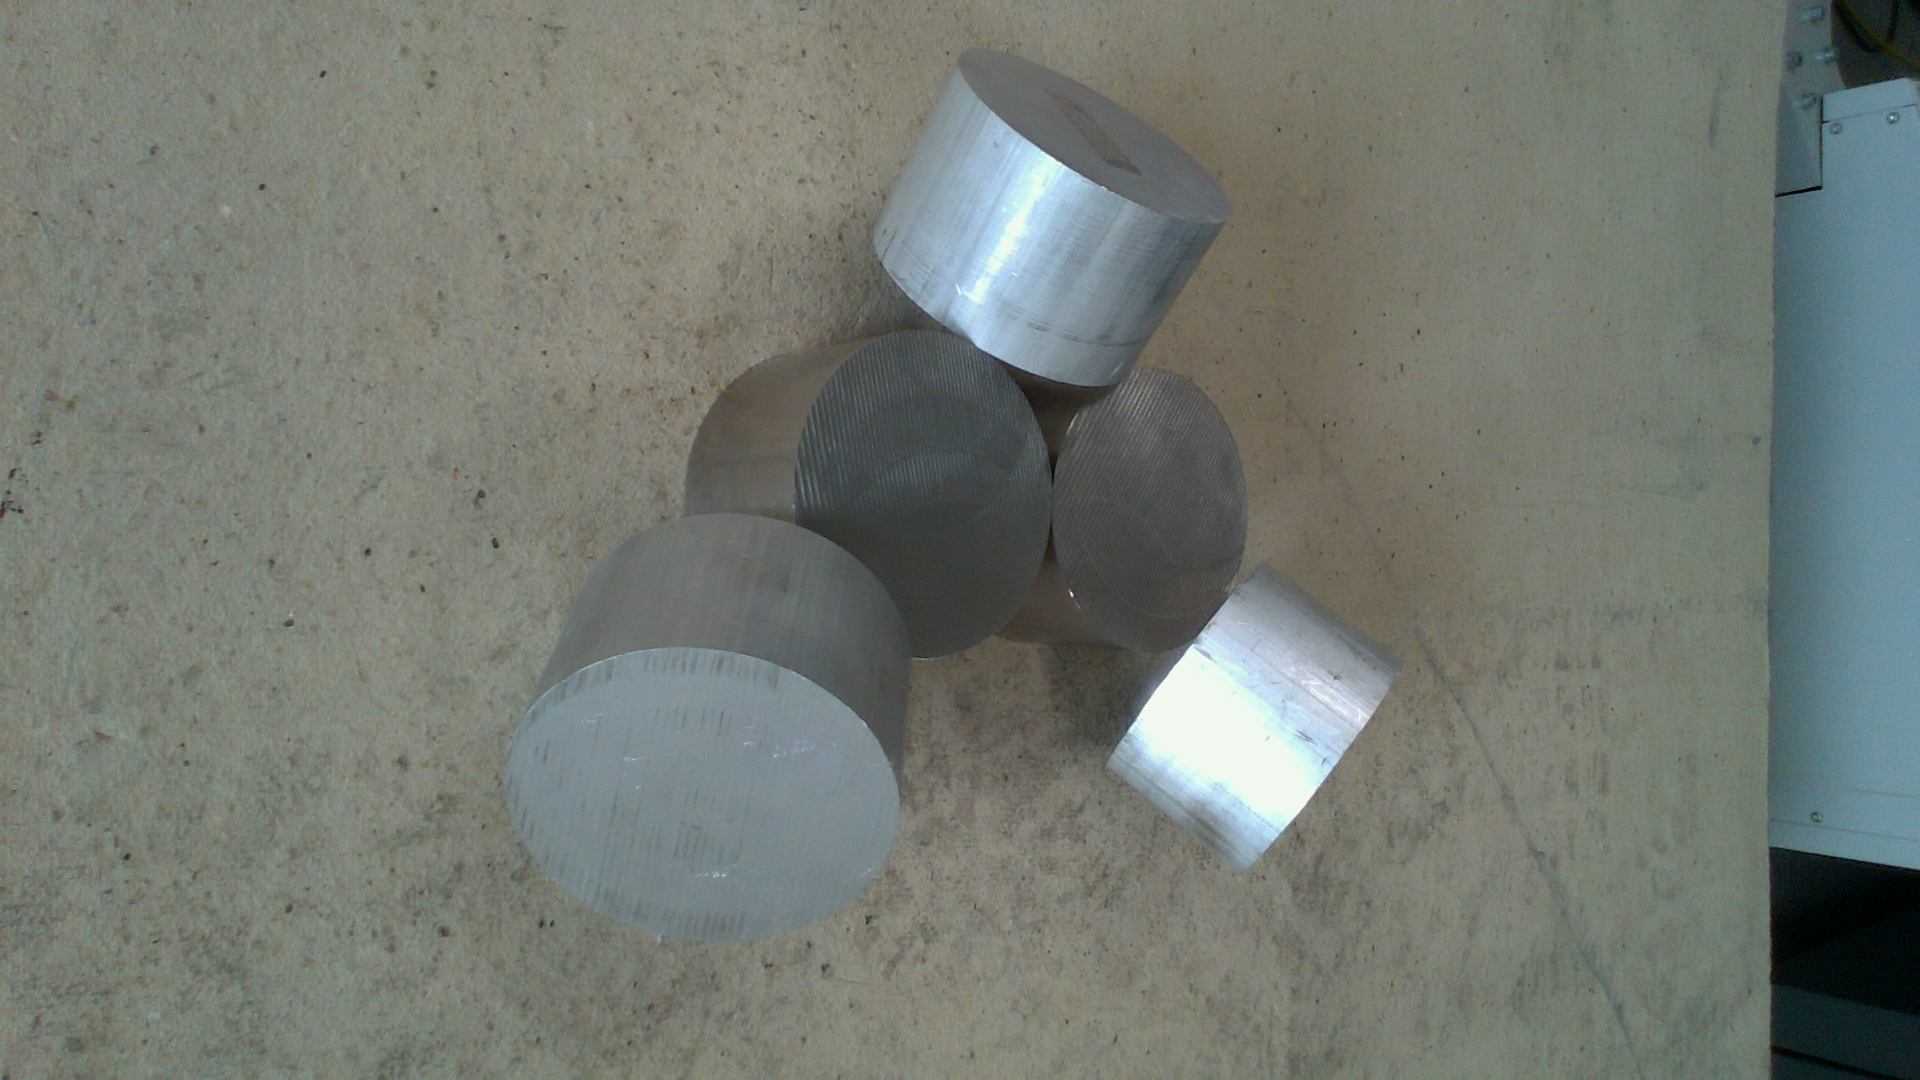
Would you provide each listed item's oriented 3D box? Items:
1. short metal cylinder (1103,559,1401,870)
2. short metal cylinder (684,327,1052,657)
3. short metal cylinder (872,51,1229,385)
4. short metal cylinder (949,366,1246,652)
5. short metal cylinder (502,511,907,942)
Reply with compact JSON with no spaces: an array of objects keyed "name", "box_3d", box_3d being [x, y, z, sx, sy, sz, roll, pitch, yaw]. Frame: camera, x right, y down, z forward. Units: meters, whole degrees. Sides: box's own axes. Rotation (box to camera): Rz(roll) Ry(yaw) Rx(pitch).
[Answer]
[{"name":"short metal cylinder","box_3d":[0.088,0.053,0.419,0.050,0.080,0.080,38,58,13]},{"name":"short metal cylinder","box_3d":[-0.023,-0.011,0.353,0.080,0.050,0.080,0,89,-40]},{"name":"short metal cylinder","box_3d":[0.023,-0.086,0.365,0.080,0.080,0.050,2,131,-40]},{"name":"short metal cylinder","box_3d":[0.039,-0.009,0.405,0.080,0.050,0.080,0,89,-40]},{"name":"short metal cylinder","box_3d":[-0.052,0.041,0.302,0.080,0.080,0.050,54,19,-26]}]
